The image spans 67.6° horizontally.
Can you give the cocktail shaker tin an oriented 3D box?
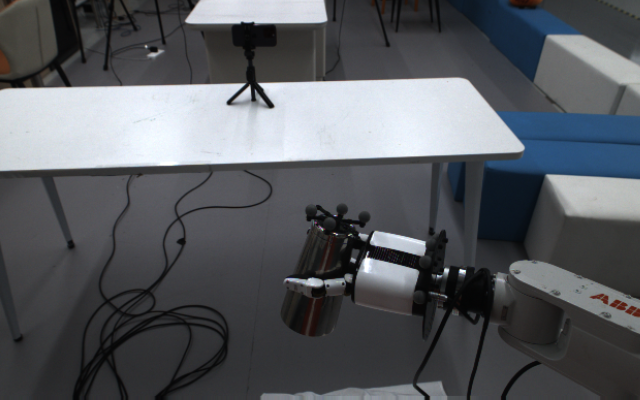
[{"bbox_3d":[0.003,0.109,0.735,0.093,0.170,0.093,12,24,-5],"label":"cocktail shaker tin"}]
